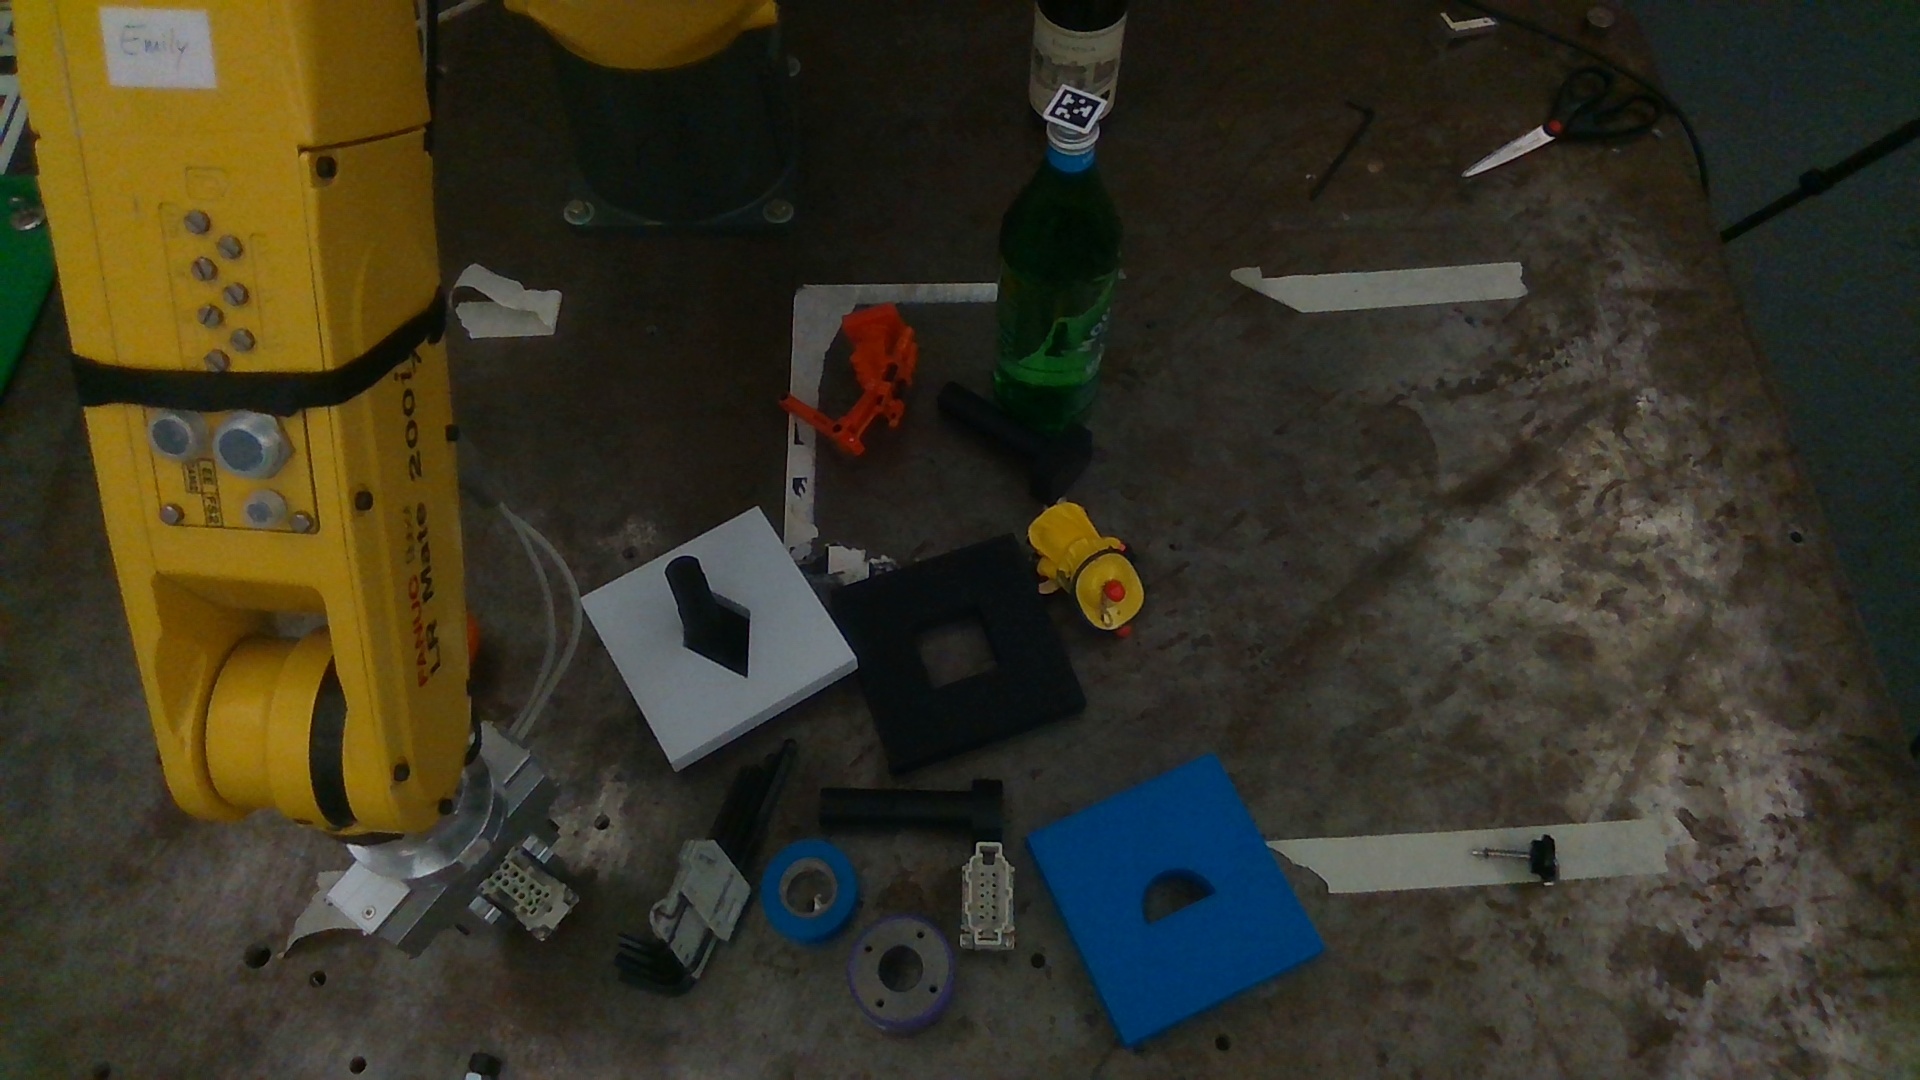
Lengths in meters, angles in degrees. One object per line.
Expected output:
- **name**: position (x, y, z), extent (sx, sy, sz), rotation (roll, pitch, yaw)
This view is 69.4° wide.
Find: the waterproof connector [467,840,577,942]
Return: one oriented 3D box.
- **waterproof connector**: position (-0.281, 0.224, 0.892), extent (0.069, 0.038, 0.036), rotation (32, 75, 17)
